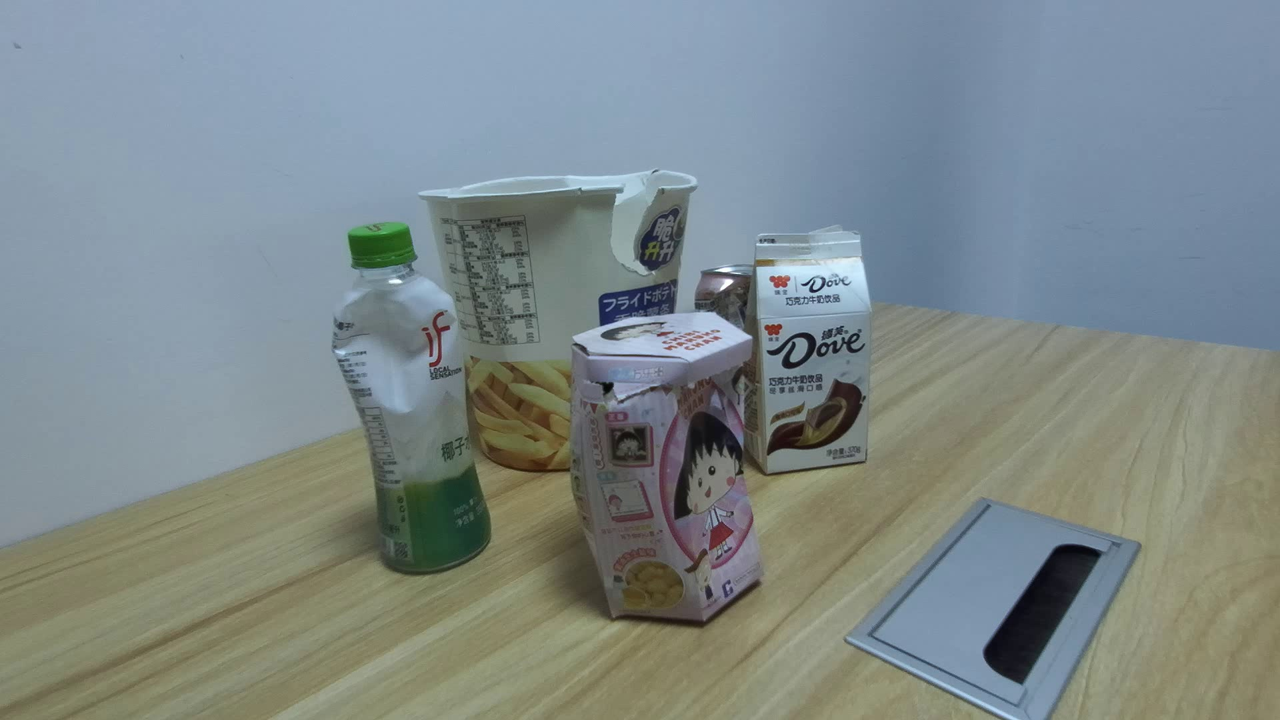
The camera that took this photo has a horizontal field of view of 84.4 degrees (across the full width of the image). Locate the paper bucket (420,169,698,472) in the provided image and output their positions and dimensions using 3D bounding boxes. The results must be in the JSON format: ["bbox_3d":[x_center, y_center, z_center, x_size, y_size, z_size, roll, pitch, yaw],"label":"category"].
[{"bbox_3d":[-0.056,-0.036,0.532,0.202,0.197,0.146,-2,20,8],"label":"paper bucket"}]

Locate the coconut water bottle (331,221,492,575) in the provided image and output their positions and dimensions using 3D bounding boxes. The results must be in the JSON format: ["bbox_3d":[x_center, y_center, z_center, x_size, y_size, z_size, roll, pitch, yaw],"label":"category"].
[{"bbox_3d":[-0.126,0.021,0.390,0.069,0.187,0.069,-2,17,1],"label":"coconut water bottle"}]

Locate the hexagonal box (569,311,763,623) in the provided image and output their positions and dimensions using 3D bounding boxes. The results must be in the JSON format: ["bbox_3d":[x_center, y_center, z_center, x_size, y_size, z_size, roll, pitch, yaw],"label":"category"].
[{"bbox_3d":[0.012,0.051,0.356,0.091,0.134,0.090,-6,16,-3],"label":"hexagonal box"}]

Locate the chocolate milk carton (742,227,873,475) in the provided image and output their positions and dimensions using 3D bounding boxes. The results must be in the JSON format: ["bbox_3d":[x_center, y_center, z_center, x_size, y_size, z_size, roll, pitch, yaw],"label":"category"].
[{"bbox_3d":[0.106,-0.010,0.482,0.084,0.155,0.073,-7,19,-8],"label":"chocolate milk carton"}]
